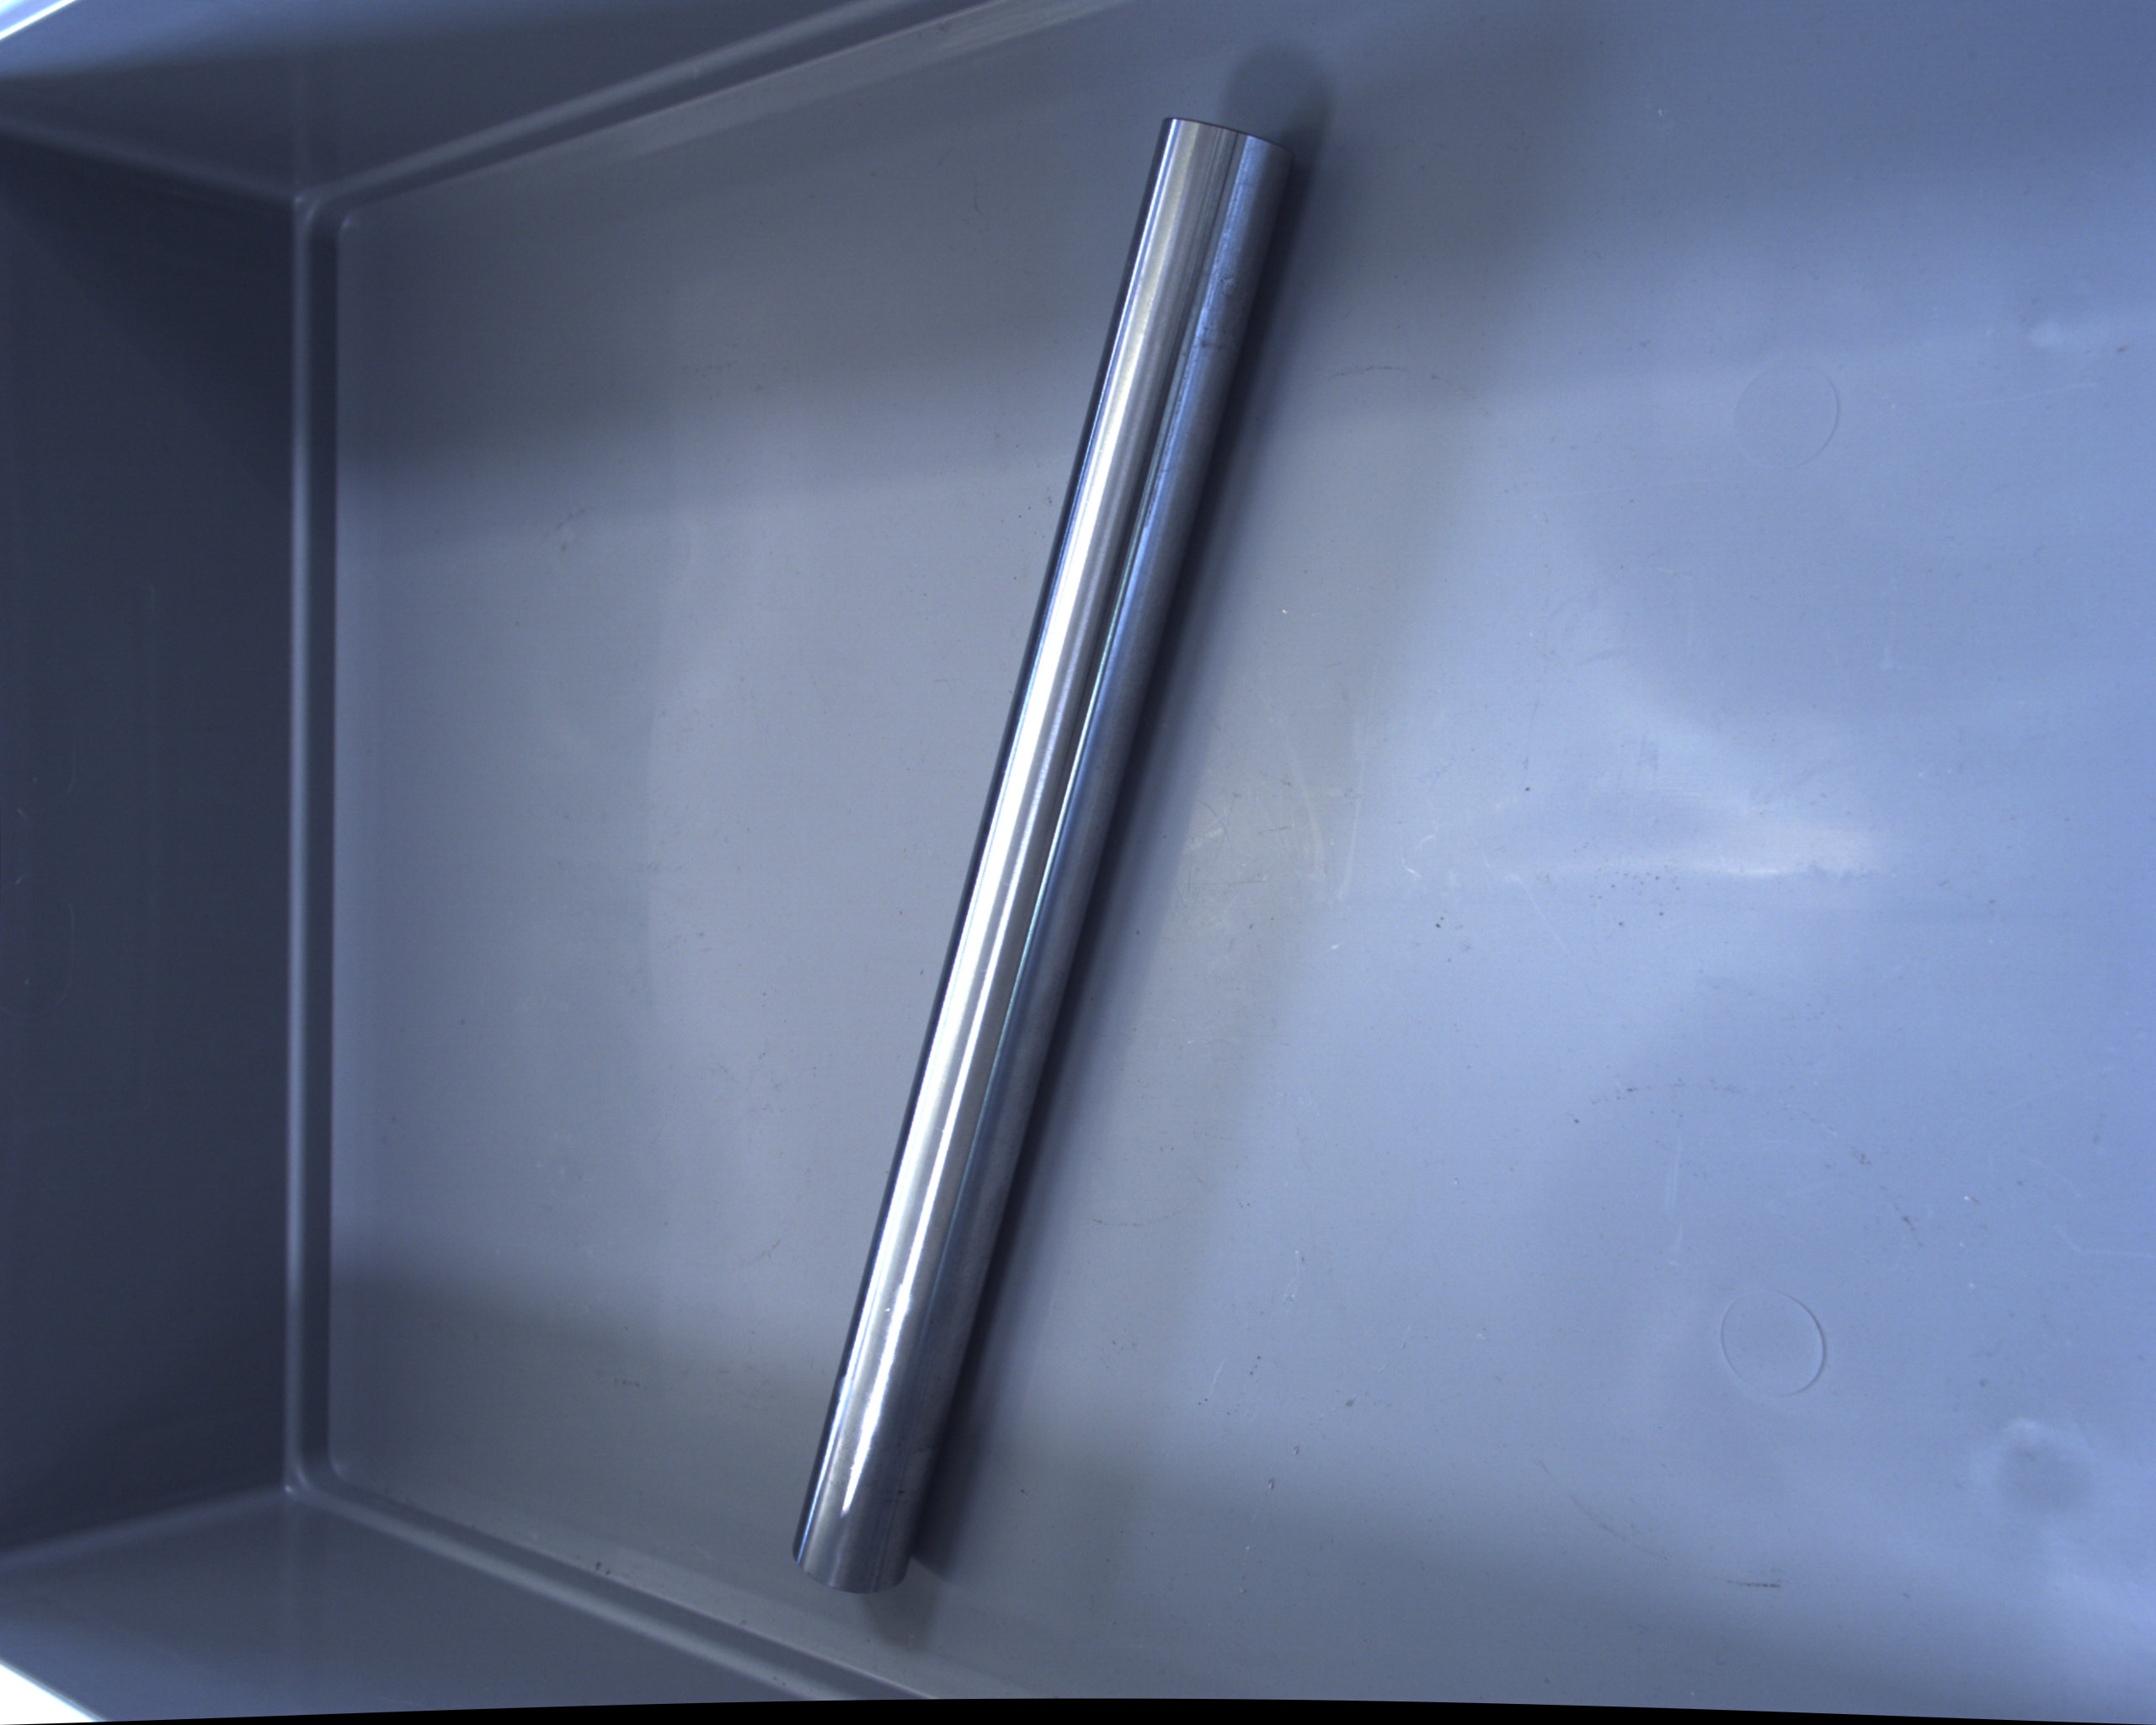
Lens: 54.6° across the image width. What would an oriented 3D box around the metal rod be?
[{"bbox_3d":[-0.011,0.008,0.414,0.025,0.025,0.298,25,106,37],"label":"metal rod"}]
